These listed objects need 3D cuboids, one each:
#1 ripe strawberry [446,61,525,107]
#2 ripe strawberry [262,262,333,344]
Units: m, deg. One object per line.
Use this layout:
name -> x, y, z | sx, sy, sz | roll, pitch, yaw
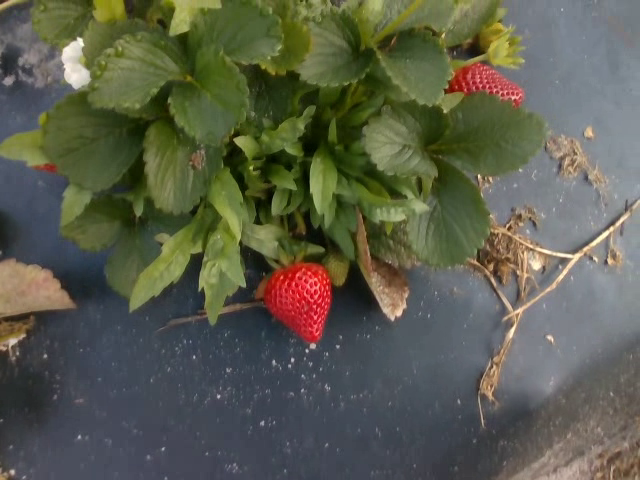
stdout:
ripe strawberry -> 0.098, -0.083, 0.383 | 0.046, 0.043, 0.047 | 2, 15, 13
ripe strawberry -> -0.012, 0.035, 0.360 | 0.043, 0.051, 0.043 | -20, -7, -12
